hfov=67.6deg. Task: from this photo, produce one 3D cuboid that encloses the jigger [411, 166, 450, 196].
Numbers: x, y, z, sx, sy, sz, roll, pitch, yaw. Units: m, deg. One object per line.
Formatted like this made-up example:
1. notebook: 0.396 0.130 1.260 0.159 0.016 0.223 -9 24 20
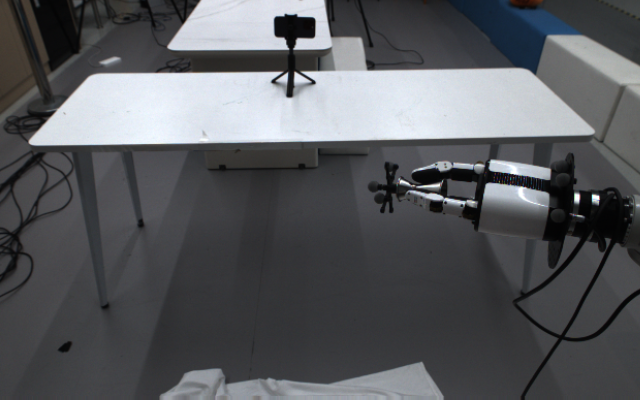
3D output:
1. jigger: 0.160 -0.020 0.730 0.071 0.043 0.043 5 33 27
